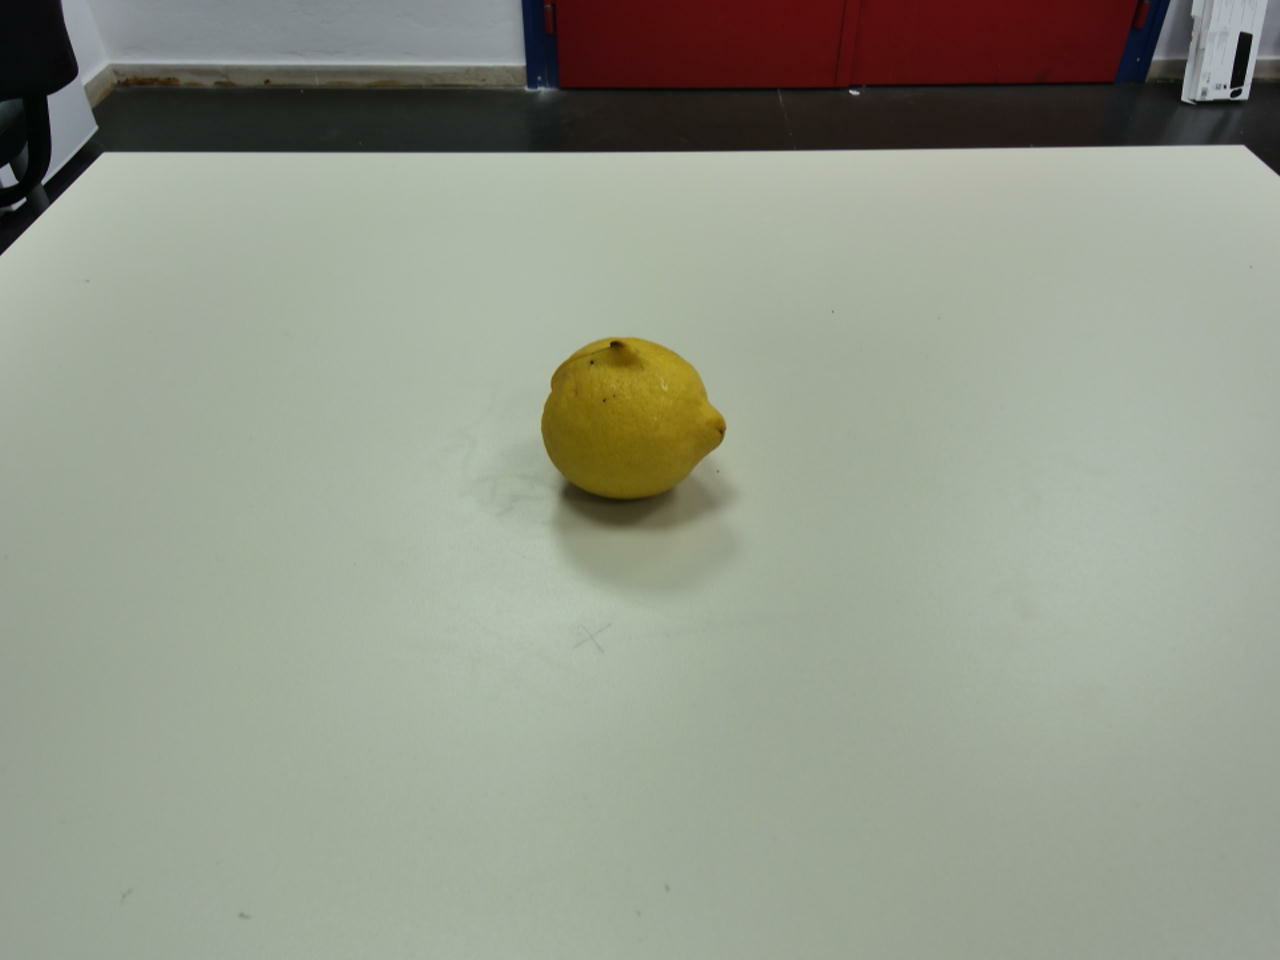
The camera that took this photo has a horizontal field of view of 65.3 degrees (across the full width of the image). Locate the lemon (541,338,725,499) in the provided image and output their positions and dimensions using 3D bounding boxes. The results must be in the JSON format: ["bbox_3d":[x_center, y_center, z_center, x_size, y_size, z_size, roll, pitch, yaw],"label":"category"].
[{"bbox_3d":[-0.006,-0.029,0.421,0.070,0.071,0.071,-21,44,-26],"label":"lemon"}]
